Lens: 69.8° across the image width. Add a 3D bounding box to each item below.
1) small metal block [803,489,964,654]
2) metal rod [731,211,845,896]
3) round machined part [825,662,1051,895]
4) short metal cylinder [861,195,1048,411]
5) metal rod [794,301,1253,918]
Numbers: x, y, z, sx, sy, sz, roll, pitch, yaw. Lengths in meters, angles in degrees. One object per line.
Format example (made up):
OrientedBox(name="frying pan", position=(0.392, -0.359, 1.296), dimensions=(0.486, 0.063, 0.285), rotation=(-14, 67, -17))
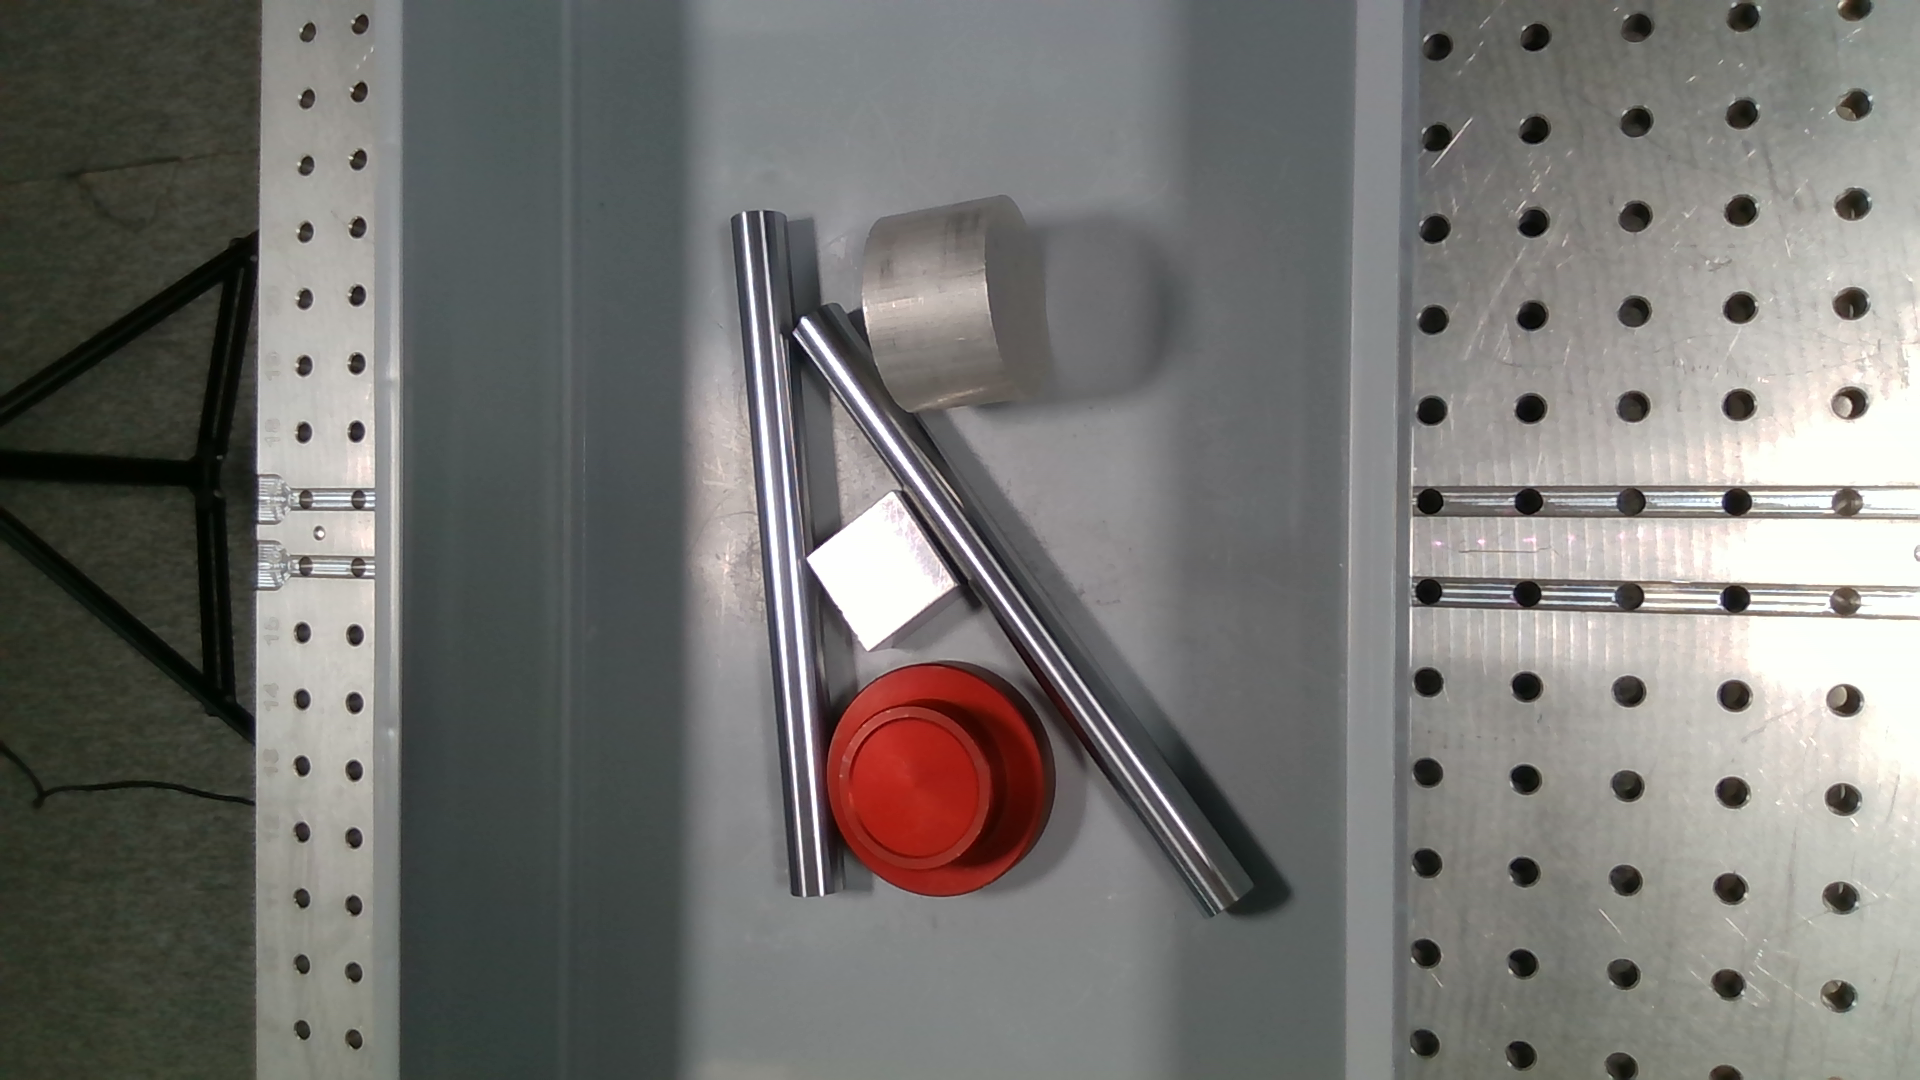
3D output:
OrientedBox(name="small metal block", position=(-0.031, 0.013, 0.595), dimensions=(0.050, 0.025, 0.050), rotation=(-38, 78, 17))
OrientedBox(name="metal rod", position=(-0.077, 0.005, 0.613), dimensions=(0.025, 0.025, 0.300), rotation=(-6, 89, 20))
OrientedBox(name="round machined part", position=(-0.013, 0.101, 0.580), dimensions=(0.098, 0.042, 0.098), rotation=(0, 91, 20))
OrientedBox(name="short metal cylinder", position=(0.000, -0.094, 0.555), dimensions=(0.050, 0.080, 0.080), rotation=(-5, 89, 20))
OrientedBox(name="metal rod", position=(0.022, 0.023, 0.576), dimensions=(0.025, 0.025, 0.300), rotation=(-39, 78, 16))
